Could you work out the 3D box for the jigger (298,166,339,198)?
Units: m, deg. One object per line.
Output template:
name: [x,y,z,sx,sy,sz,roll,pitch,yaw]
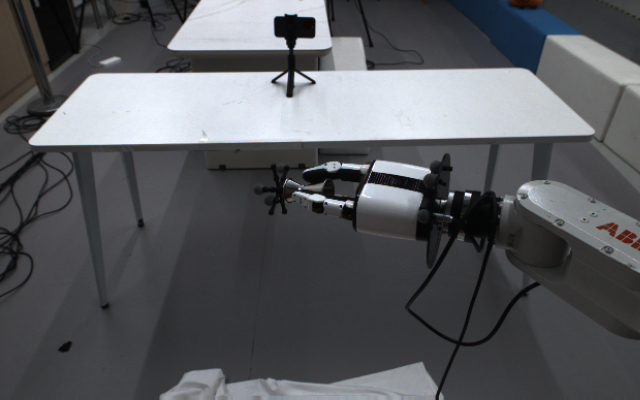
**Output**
jigger: [-0.010,-0.019,0.732,0.071,0.043,0.043,3,32,25]
